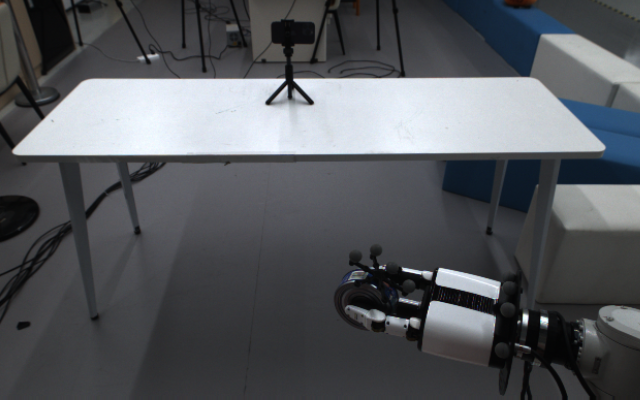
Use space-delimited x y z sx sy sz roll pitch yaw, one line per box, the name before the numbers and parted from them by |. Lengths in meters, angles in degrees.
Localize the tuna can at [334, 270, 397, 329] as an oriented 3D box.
tuna can | 0.067 0.145 0.669 0.085 0.085 0.034 15 31 18
